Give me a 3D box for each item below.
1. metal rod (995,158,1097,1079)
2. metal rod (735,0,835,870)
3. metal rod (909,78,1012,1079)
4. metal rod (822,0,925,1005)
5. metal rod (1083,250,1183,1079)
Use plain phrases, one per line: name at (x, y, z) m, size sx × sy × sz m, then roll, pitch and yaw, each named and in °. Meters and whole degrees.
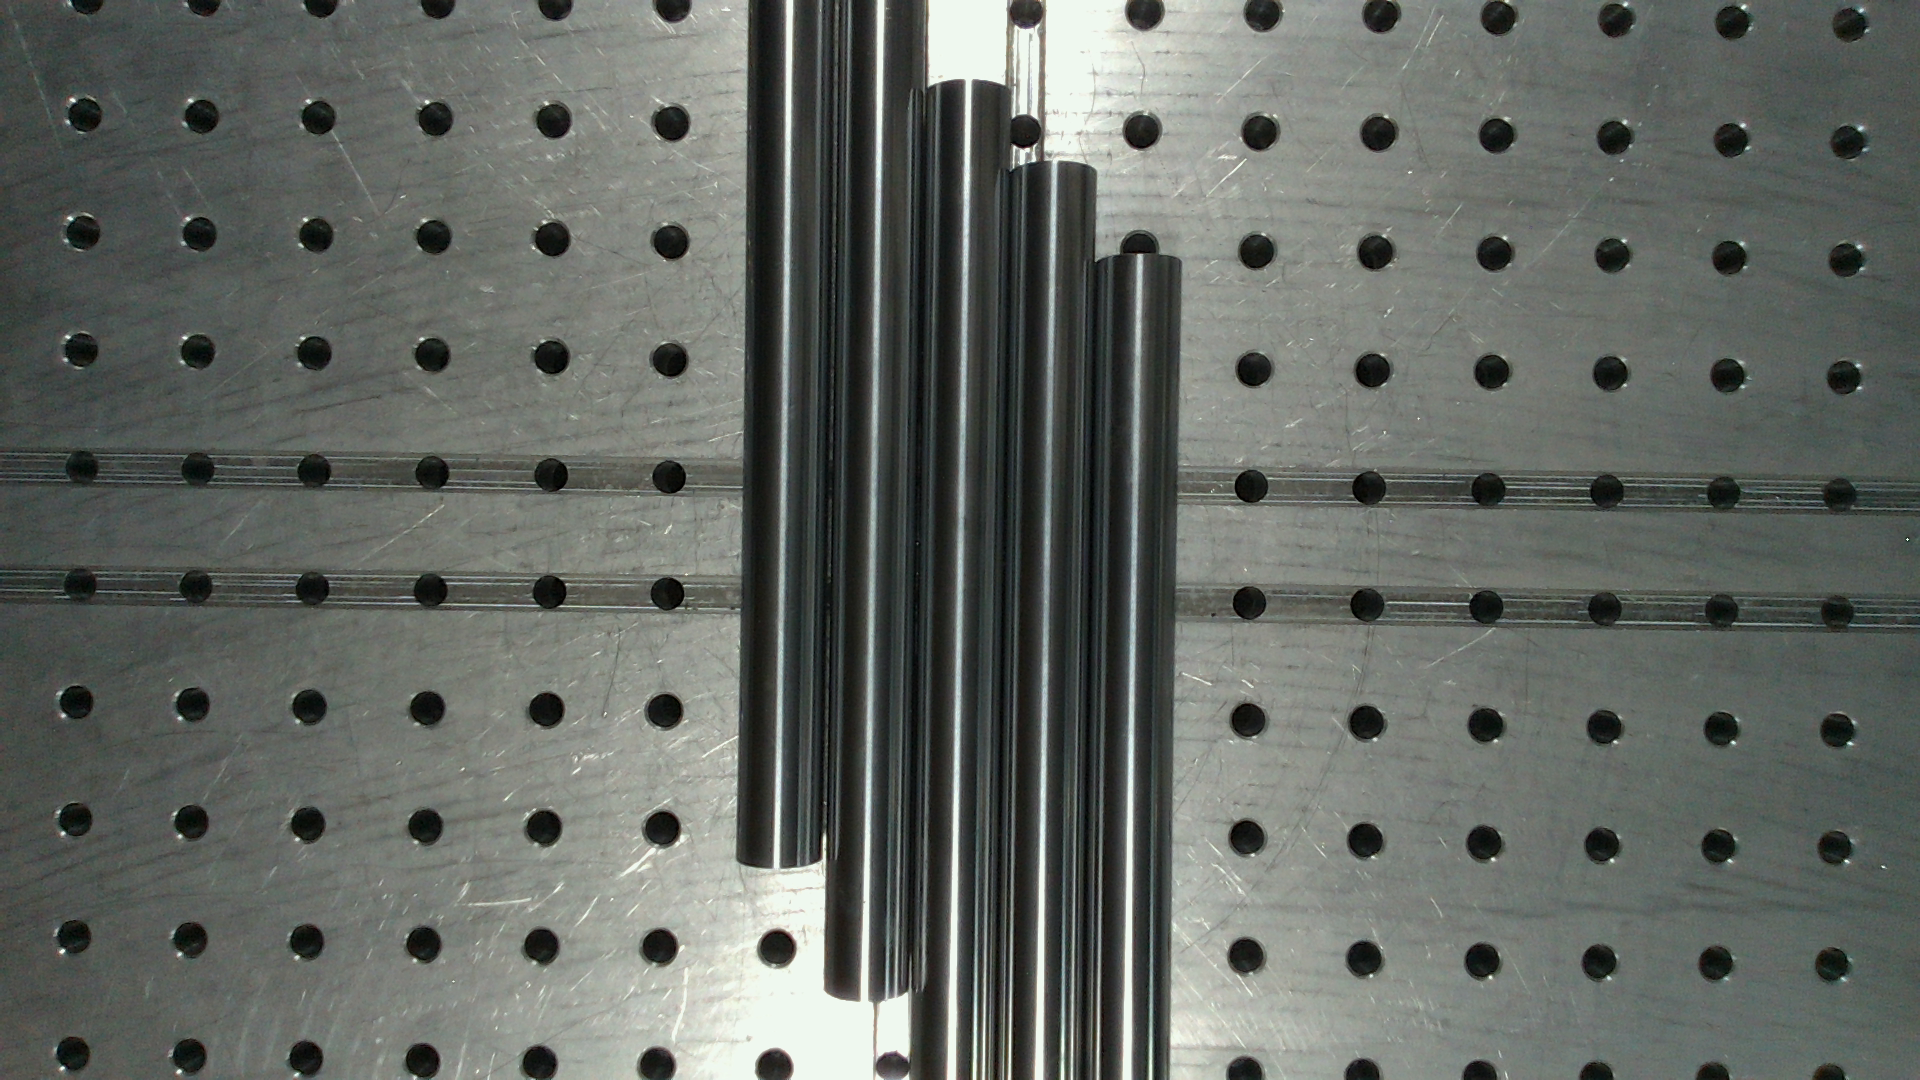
metal rod at (0.024, 0.043, 0.397) m, size 0.025 × 0.025 × 0.300 m, roll 1°, pitch 90°, yaw 0°
metal rod at (-0.050, -0.058, 0.397) m, size 0.025 × 0.025 × 0.300 m, roll 1°, pitch 90°, yaw 0°
metal rod at (0.000, 0.021, 0.397) m, size 0.025 × 0.025 × 0.300 m, roll 1°, pitch 90°, yaw 0°
metal rod at (-0.025, -0.020, 0.397) m, size 0.025 × 0.025 × 0.300 m, roll 1°, pitch 90°, yaw 0°
metal rod at (0.049, 0.069, 0.397) m, size 0.025 × 0.025 × 0.300 m, roll 1°, pitch 90°, yaw 0°
